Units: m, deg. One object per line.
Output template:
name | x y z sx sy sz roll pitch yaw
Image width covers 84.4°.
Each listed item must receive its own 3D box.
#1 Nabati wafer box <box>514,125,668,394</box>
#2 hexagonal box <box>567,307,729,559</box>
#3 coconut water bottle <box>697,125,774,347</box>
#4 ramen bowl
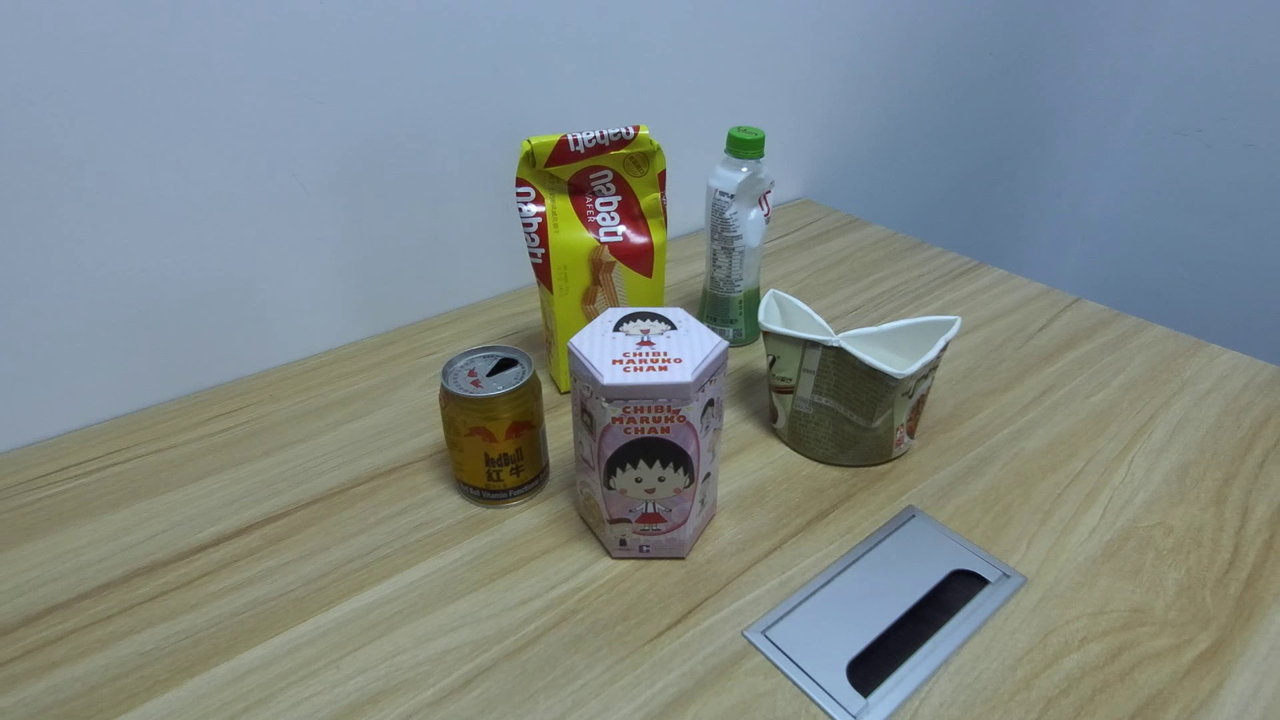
Nabati wafer box | -0.032 -0.074 0.555 0.113 0.205 0.042 -12 31 -17
hexagonal box | 0.005 0.046 0.430 0.091 0.136 0.083 -1 32 -1
coconut water bottle | 0.084 -0.105 0.613 0.069 0.187 0.069 2 28 -1
ramen bowl | 0.149 0.007 0.528 0.128 0.093 0.112 23 40 30
